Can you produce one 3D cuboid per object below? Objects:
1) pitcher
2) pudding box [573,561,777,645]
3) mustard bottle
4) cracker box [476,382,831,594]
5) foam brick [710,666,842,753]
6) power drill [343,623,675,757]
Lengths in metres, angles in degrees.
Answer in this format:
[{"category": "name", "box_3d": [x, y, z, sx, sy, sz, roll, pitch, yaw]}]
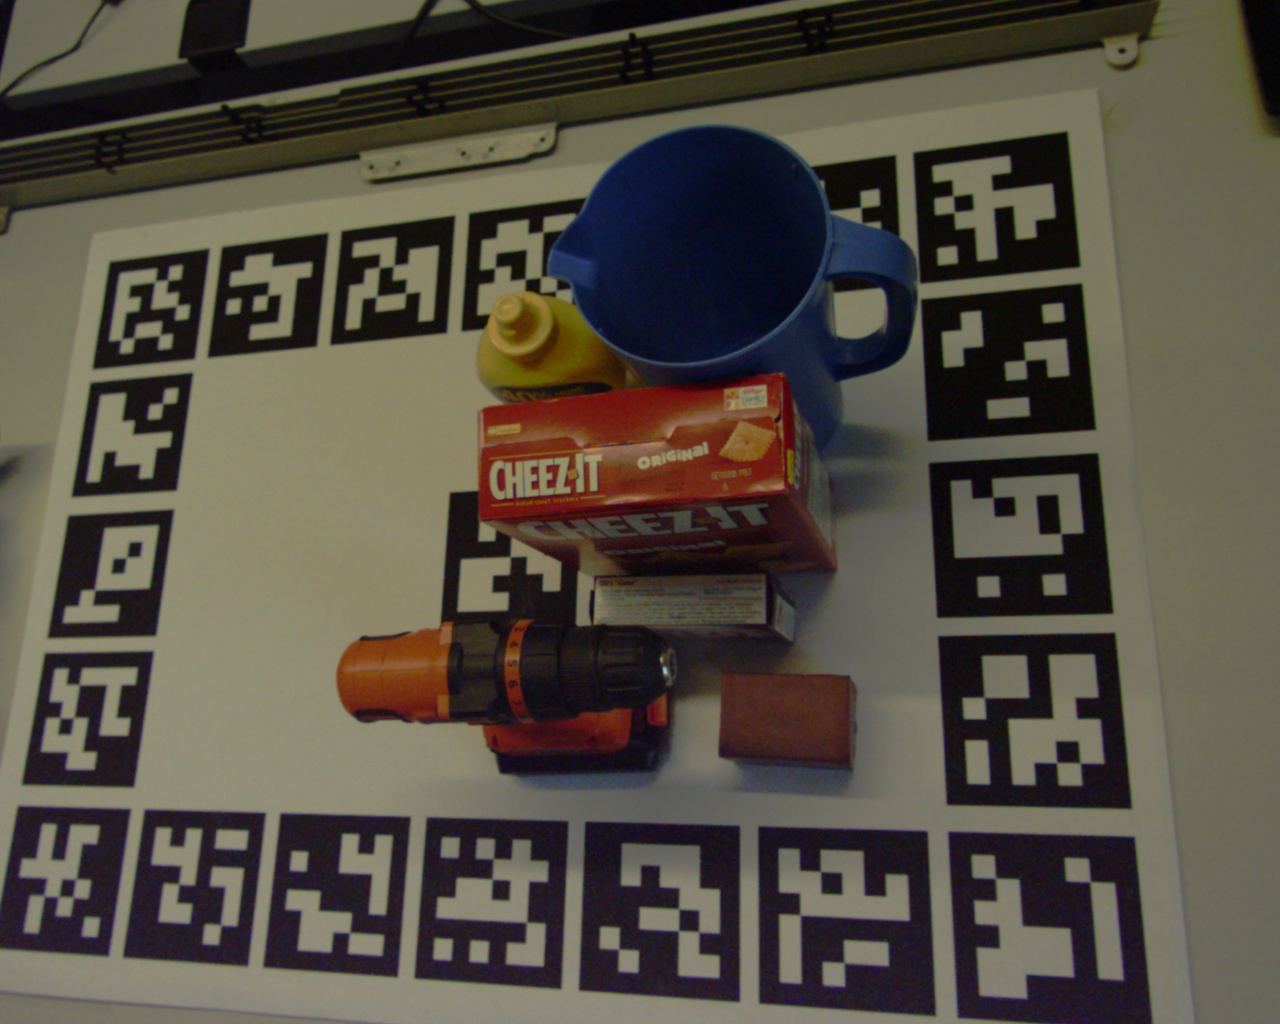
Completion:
[{"category": "pitcher", "box_3d": [0.064, -0.103, 0.700, 0.190, 0.240, 0.133, 3, 77, 19]}, {"category": "pudding box", "box_3d": [0.024, 0.060, 0.732, 0.115, 0.089, 0.039, -3, 74, 19]}, {"category": "mustard bottle", "box_3d": [-0.061, -0.093, 0.748, 0.097, 0.190, 0.058, 11, 80, 19]}, {"category": "cracker box", "box_3d": [0.018, 0.000, 0.693, 0.165, 0.211, 0.072, -5, 73, 18]}, {"category": "foam brick", "box_3d": [0.087, 0.127, 0.730, 0.079, 0.051, 0.053, -1, 78, 17]}, {"category": "power drill", "box_3d": [-0.055, 0.106, 0.671, 0.186, 0.185, 0.057, -4, 72, 15]}]
